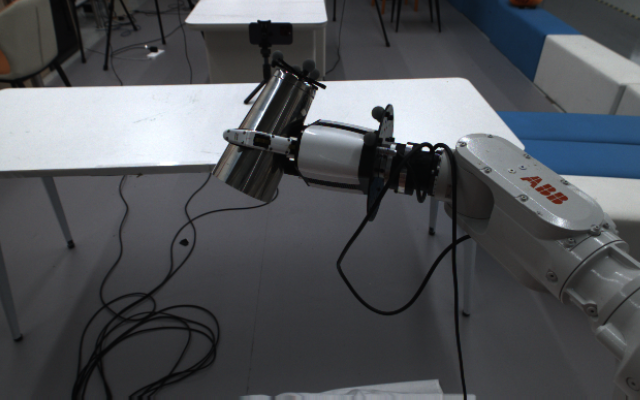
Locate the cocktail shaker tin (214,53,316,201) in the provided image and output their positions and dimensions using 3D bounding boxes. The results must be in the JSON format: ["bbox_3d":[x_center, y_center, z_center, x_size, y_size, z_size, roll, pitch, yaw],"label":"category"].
[{"bbox_3d":[-0.073,-0.097,0.682,0.093,0.170,0.093,27,2,-1],"label":"cocktail shaker tin"}]
